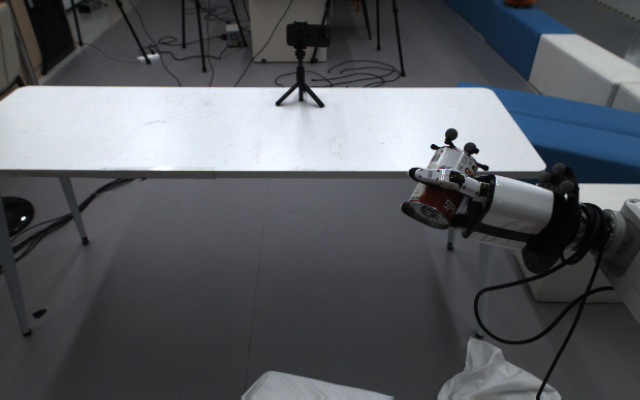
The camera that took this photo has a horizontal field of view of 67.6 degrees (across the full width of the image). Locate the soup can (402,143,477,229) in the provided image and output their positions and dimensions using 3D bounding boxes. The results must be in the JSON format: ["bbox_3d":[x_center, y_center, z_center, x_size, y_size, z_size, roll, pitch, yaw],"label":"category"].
[{"bbox_3d":[0.177,-0.018,0.694,0.067,0.067,0.101,22,71,26],"label":"soup can"}]
